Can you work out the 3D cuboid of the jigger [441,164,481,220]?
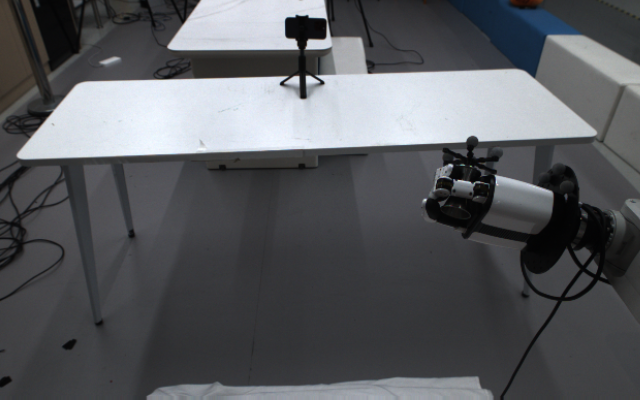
[{"bbox_3d":[0.206,-0.014,0.697,0.043,0.043,0.071,15,70,18],"label":"jigger"}]
